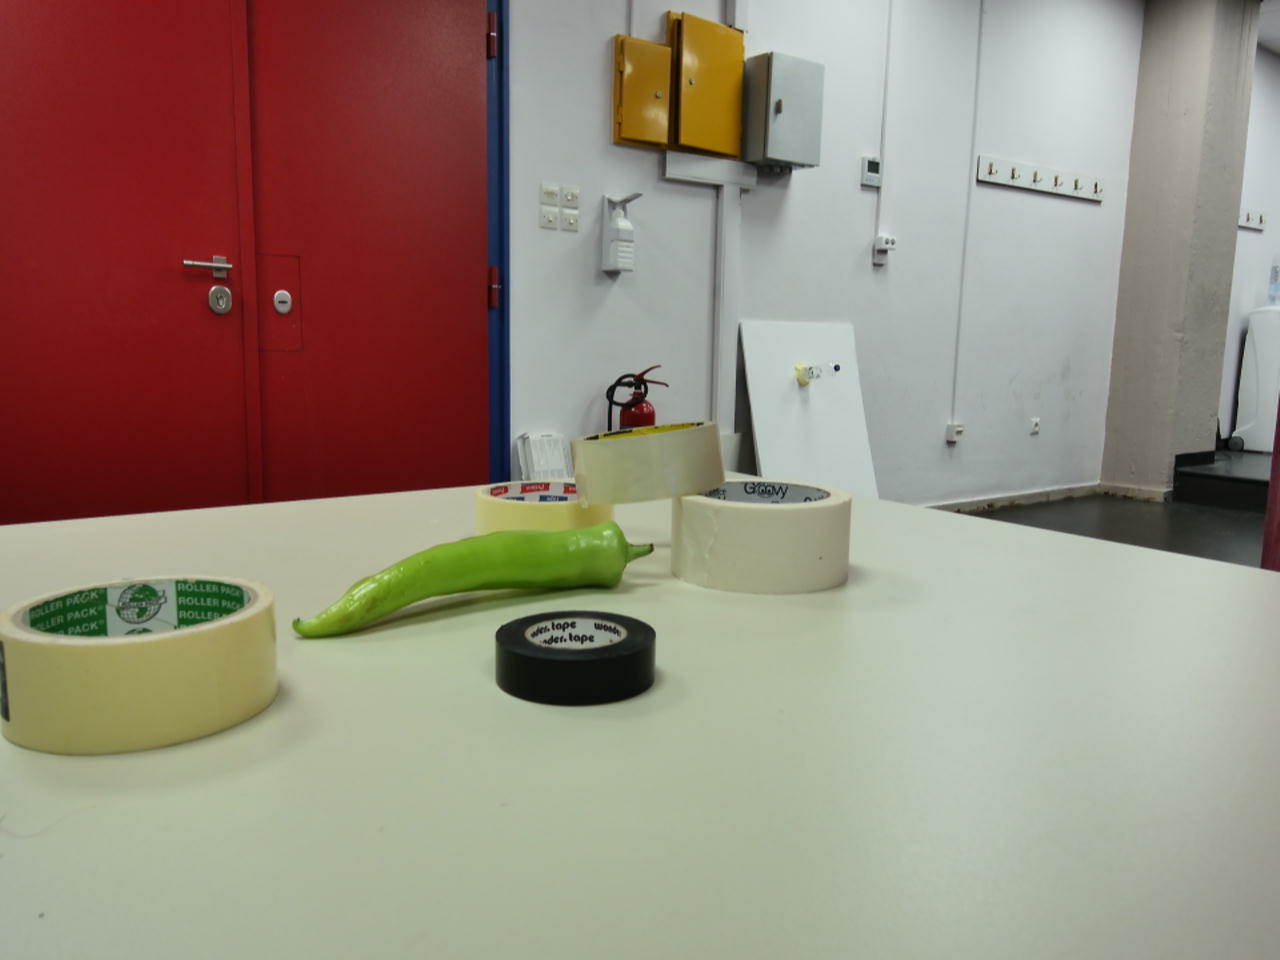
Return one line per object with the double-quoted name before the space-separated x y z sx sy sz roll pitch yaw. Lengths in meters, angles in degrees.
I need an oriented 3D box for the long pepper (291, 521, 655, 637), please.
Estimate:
"long pepper" -0.082 0.046 0.514 0.197 0.038 0.047 -4 8 -35
